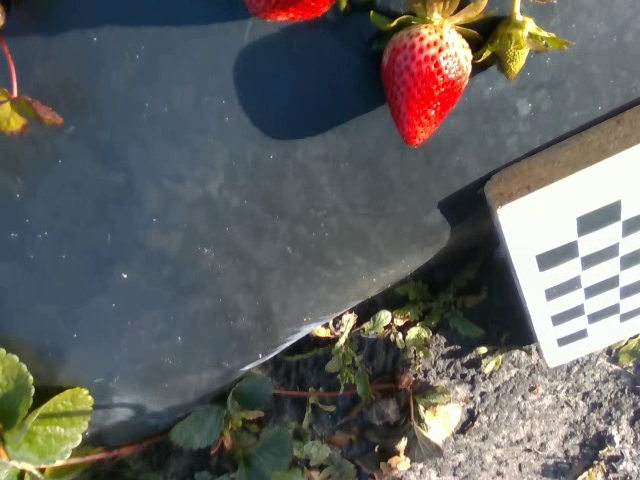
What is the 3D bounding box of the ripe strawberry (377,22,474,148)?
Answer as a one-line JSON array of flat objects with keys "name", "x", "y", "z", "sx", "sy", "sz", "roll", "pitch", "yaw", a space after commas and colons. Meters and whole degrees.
[{"name": "ripe strawberry", "x": 0.044, "y": -0.063, "z": 0.254, "sx": 0.043, "sy": 0.053, "sz": 0.039, "roll": 3, "pitch": 8, "yaw": -25}]
